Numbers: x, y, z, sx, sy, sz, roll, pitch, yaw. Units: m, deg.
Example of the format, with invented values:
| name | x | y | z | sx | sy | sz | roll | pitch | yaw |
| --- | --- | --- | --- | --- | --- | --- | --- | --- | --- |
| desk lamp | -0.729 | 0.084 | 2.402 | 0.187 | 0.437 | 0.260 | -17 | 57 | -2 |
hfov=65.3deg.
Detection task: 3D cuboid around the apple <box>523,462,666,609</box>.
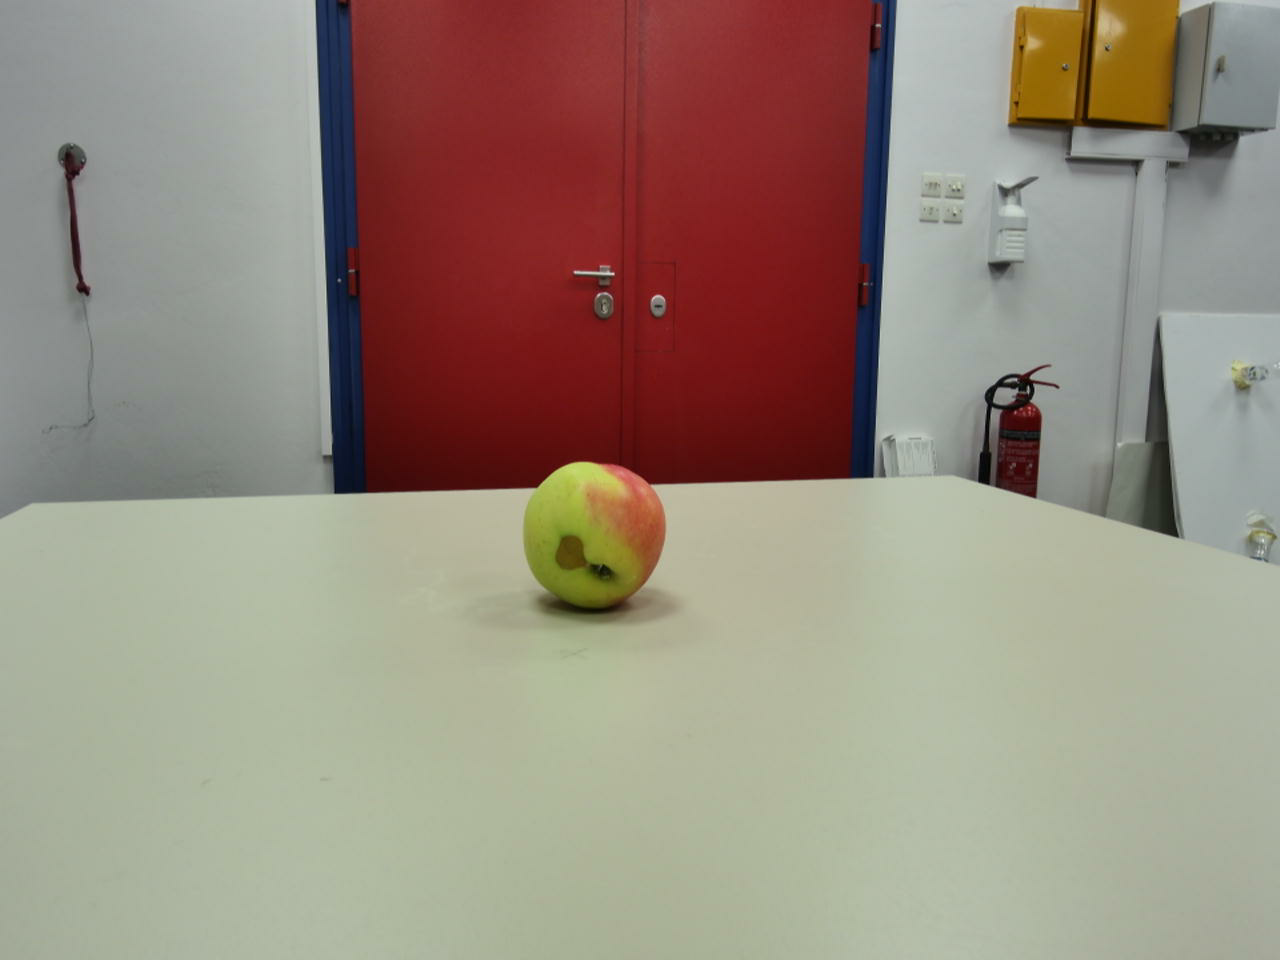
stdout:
| name | x | y | z | sx | sy | sz | roll | pitch | yaw |
| --- | --- | --- | --- | --- | --- | --- | --- | --- | --- |
| apple | -0.023 | 0.028 | 0.521 | 0.075 | 0.074 | 0.075 | -5 | 8 | -33 |
